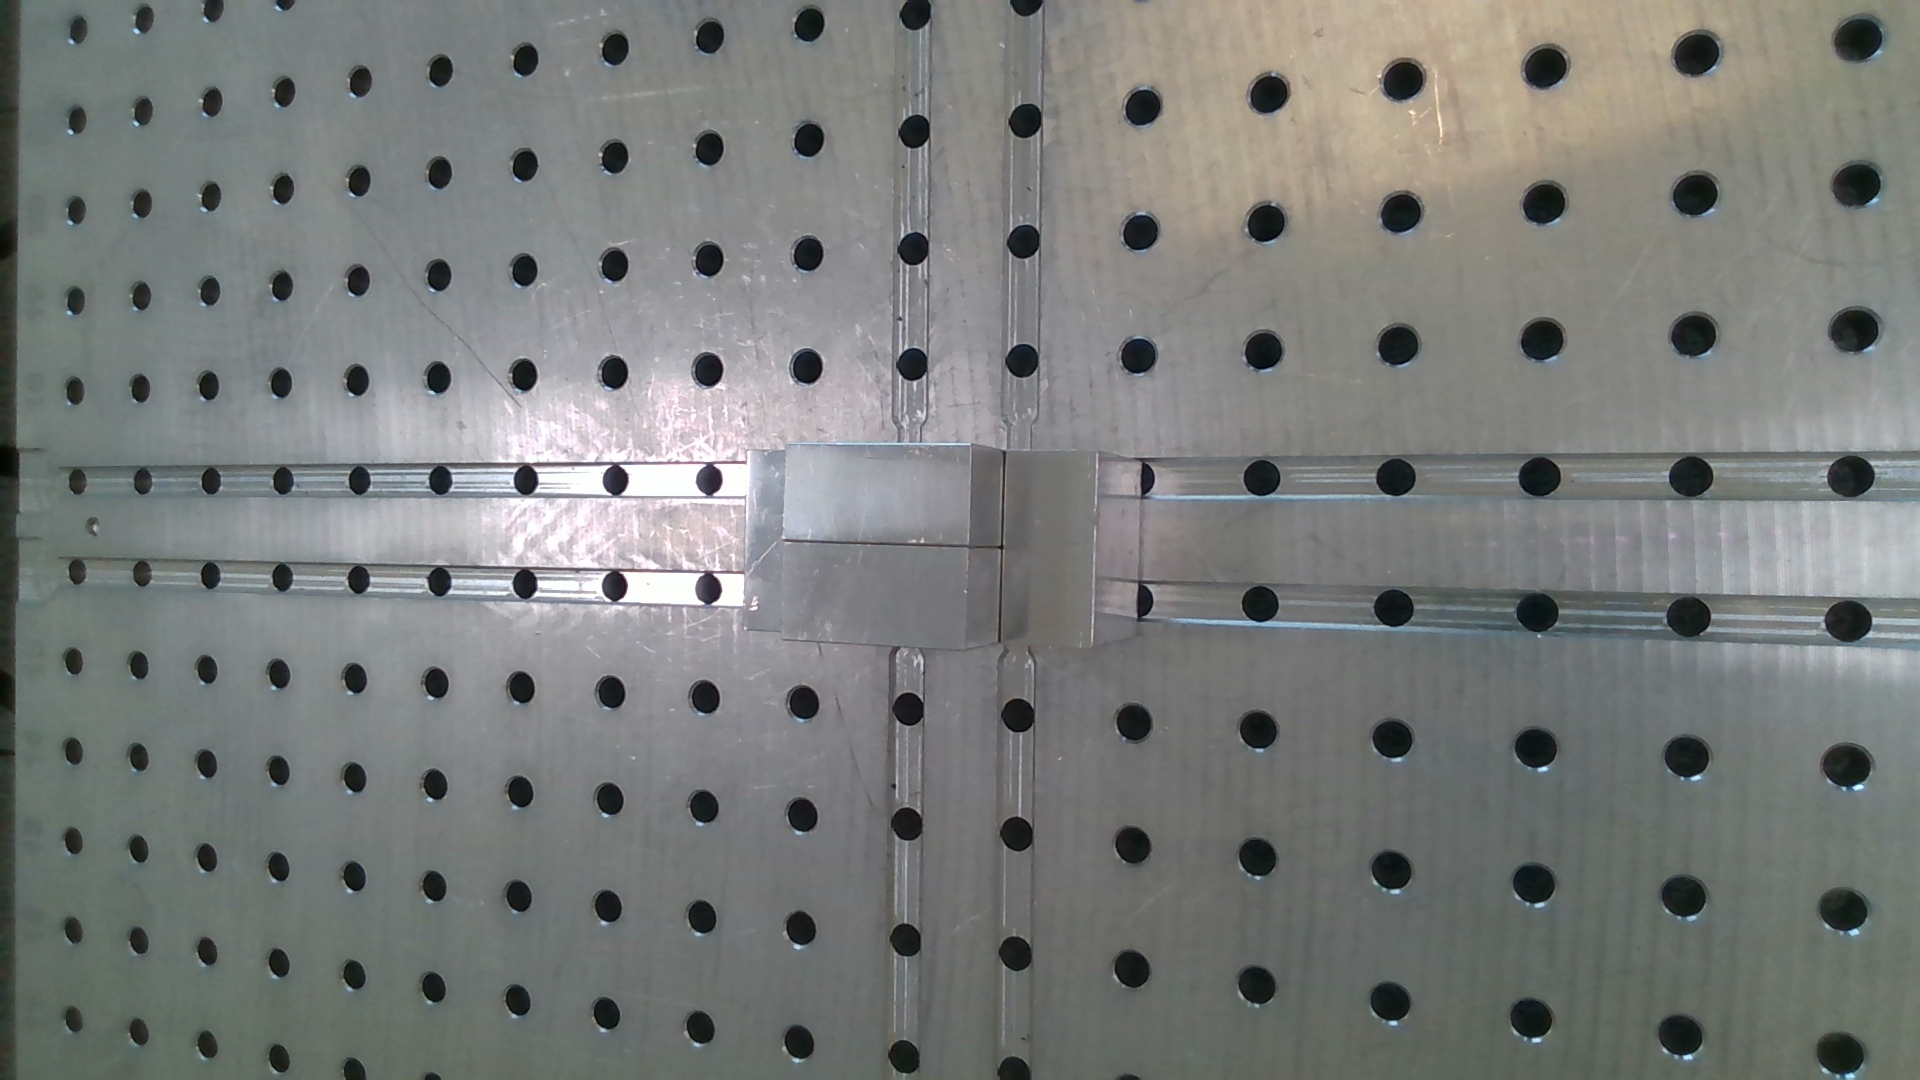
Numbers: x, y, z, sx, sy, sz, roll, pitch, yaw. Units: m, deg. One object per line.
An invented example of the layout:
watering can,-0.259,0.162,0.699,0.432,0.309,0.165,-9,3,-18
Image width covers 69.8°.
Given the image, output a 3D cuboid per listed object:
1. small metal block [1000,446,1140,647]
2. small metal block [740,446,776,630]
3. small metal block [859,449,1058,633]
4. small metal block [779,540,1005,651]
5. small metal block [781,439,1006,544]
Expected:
small metal block,0.031,0.001,0.371,0.025,0.050,0.050,2,91,20
small metal block,-0.040,0.000,0.397,0.025,0.050,0.050,2,91,20
small metal block,0.000,0.000,0.396,0.050,0.025,0.050,2,89,20
small metal block,-0.013,0.014,0.361,0.050,0.050,0.025,2,89,20
small metal block,-0.013,-0.012,0.361,0.050,0.050,0.025,2,91,20
